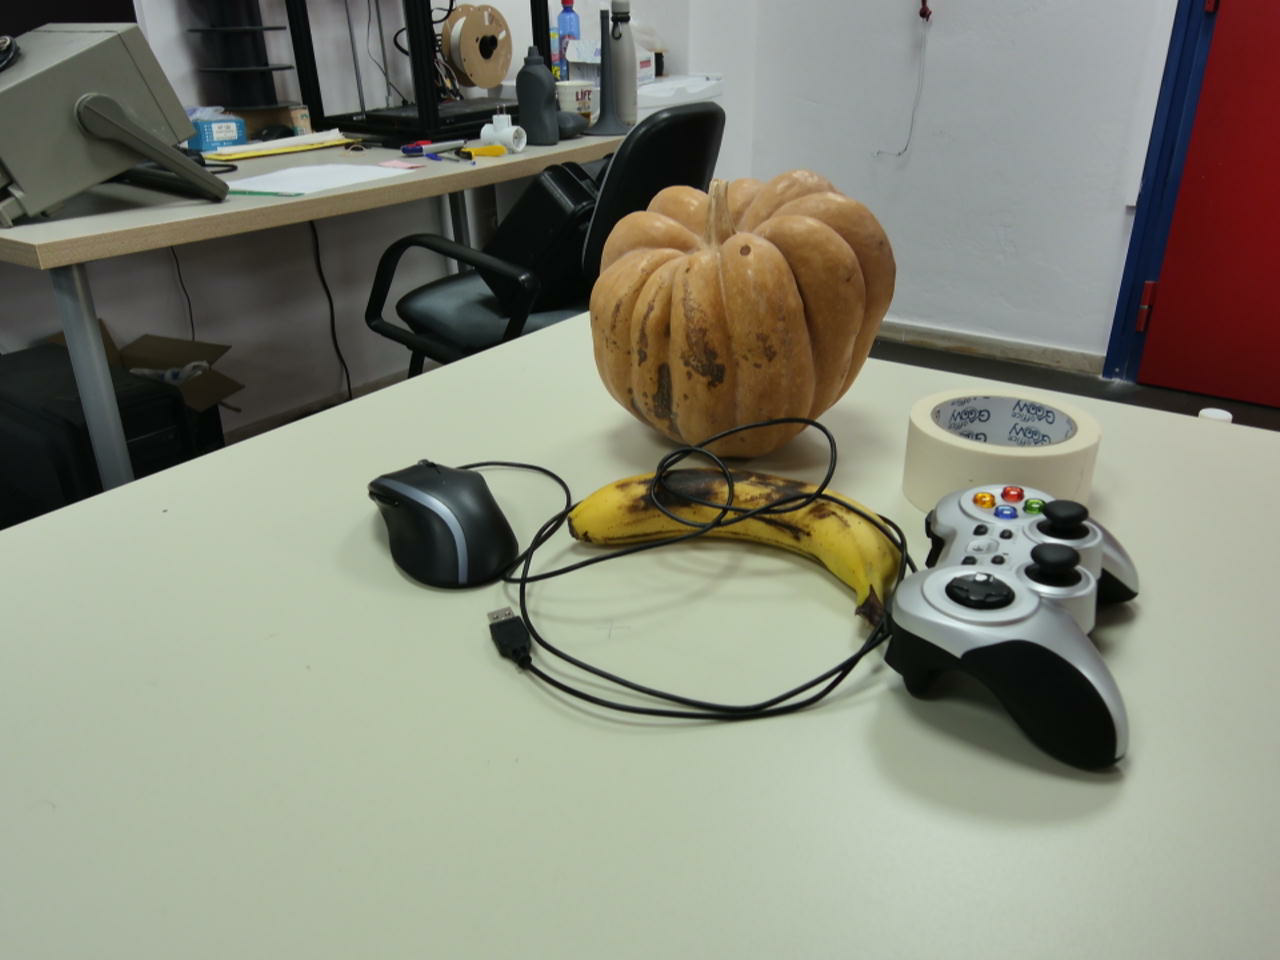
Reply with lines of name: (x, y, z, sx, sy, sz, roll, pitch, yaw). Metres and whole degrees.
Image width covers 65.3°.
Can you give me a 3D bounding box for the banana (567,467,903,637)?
banana: (0.059, 0.026, 0.532, 0.187, 0.039, 0.094, 16, 29, 32)
